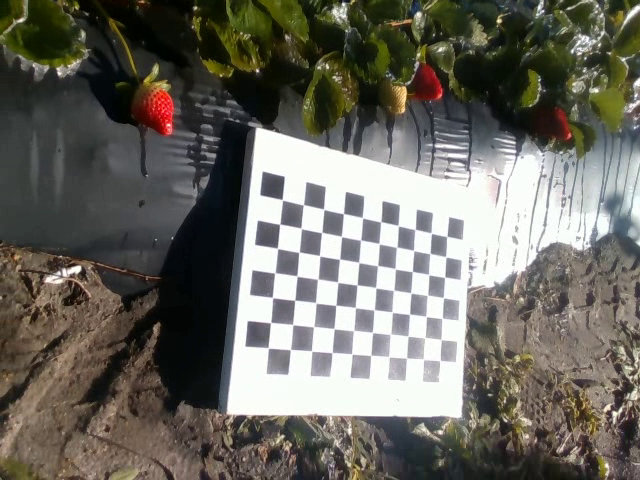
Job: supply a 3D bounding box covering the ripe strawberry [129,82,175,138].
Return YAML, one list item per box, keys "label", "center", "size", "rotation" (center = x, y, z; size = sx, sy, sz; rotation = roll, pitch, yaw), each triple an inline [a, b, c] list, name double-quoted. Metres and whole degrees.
- label: "ripe strawberry"
  center: [-0.140, -0.110, 0.480]
  size: [0.039, 0.053, 0.040]
  rotation: [-15, -14, -31]
